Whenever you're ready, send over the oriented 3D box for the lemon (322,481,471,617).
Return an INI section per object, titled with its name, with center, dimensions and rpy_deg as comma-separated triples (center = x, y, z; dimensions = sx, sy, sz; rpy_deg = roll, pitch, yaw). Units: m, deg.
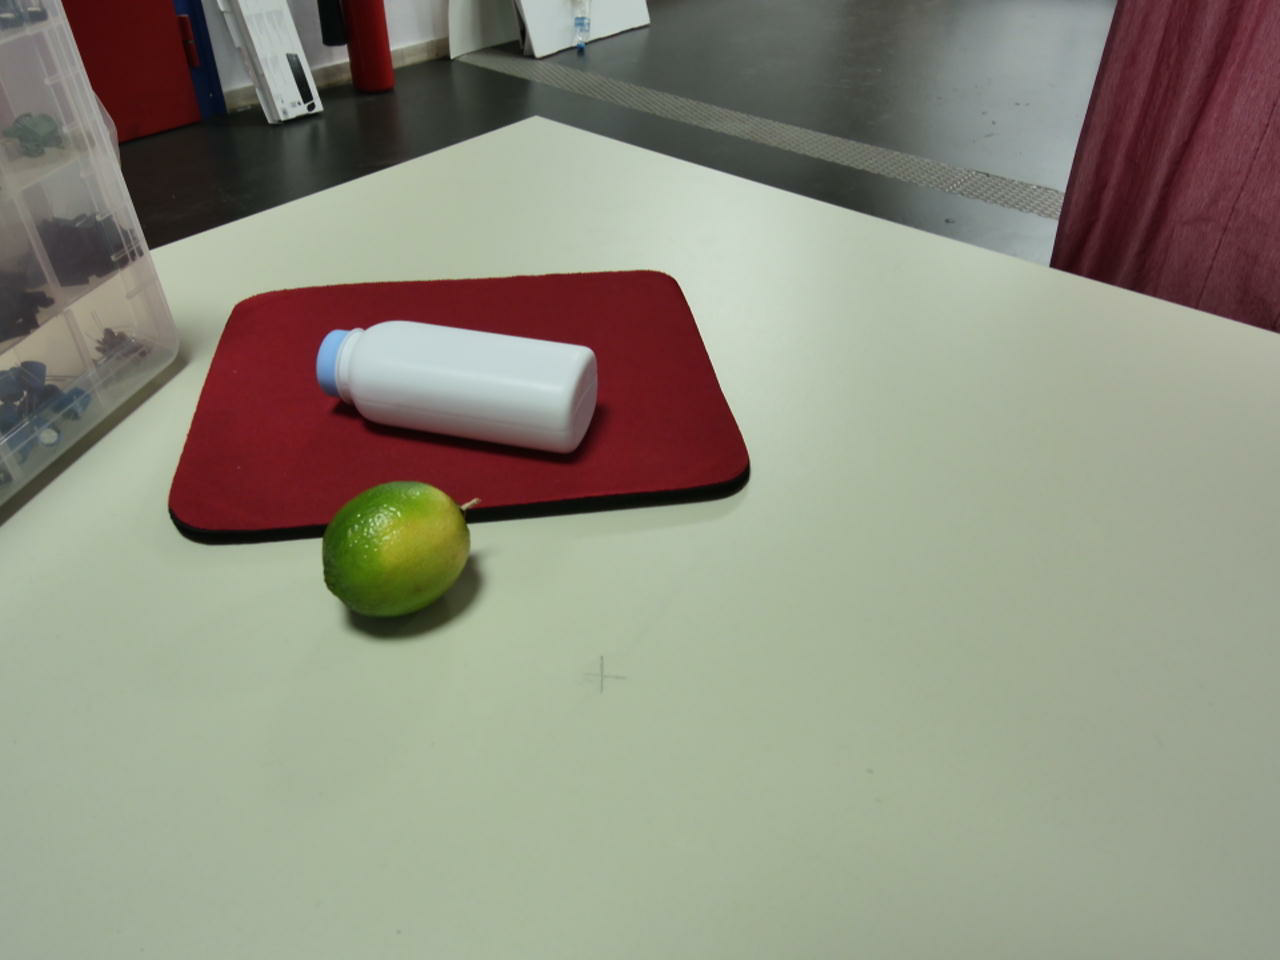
[lemon]
center = -0.094, 0.026, 0.387
dimensions = 0.055, 0.050, 0.054
rpy_deg = 0, 36, -2
